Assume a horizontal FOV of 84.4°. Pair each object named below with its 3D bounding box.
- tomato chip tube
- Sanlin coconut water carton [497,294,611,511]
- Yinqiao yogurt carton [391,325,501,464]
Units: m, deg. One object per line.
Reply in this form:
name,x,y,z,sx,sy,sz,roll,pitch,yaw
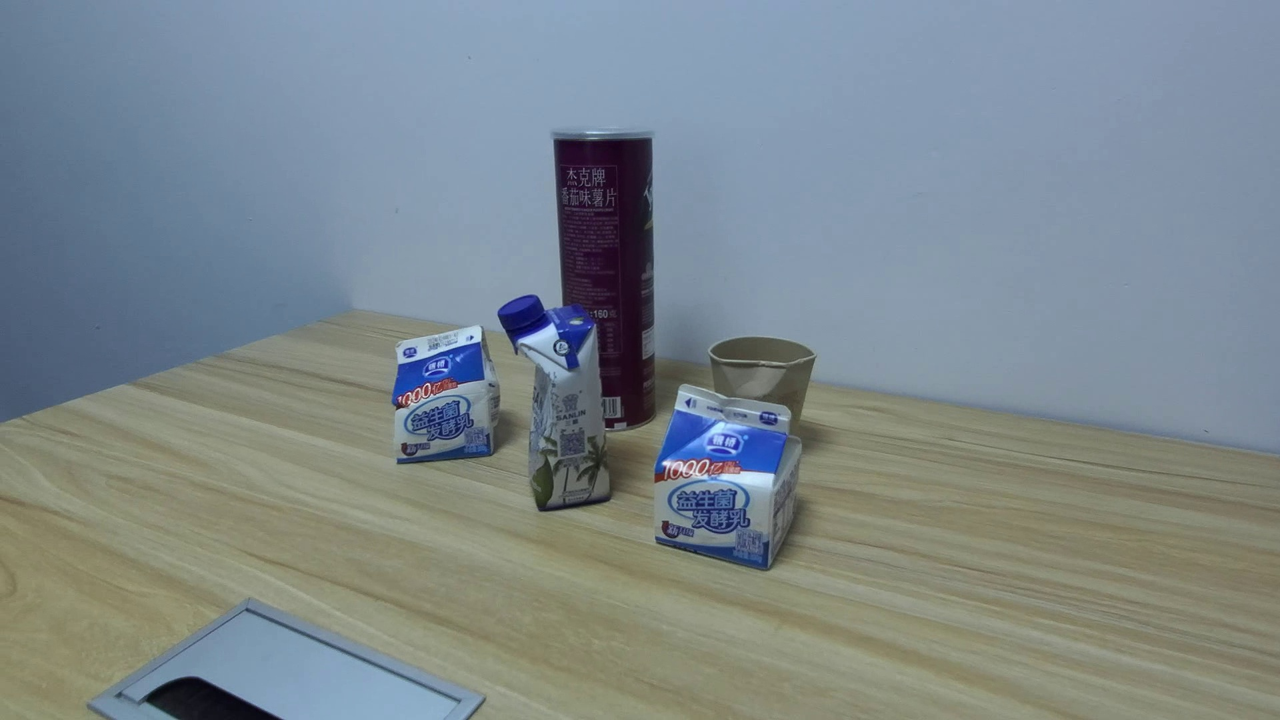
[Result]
tomato chip tube,-0.026,-0.062,0.573,0.078,0.234,0.078,-1,18,1
Sanlin coconut water carton,-0.055,0.026,0.473,0.058,0.142,0.077,-11,22,-13
Yinqiao yogurt carton,-0.152,0.020,0.555,0.083,0.093,0.077,-4,22,-9
